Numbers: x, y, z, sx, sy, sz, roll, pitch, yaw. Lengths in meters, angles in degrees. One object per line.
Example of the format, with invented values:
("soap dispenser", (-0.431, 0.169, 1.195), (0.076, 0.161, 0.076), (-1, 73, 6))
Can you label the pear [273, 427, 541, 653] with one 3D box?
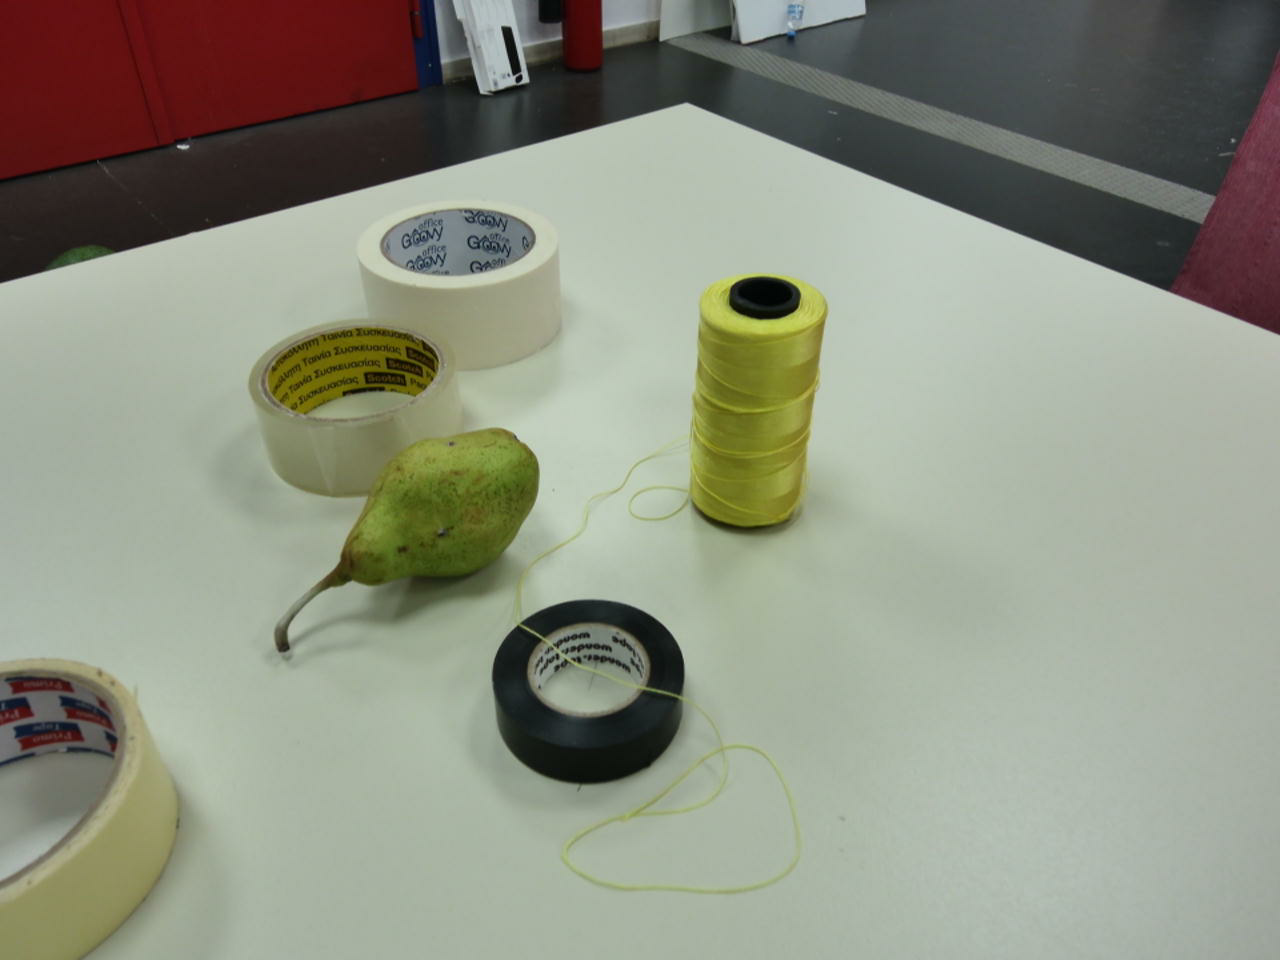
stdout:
("pear", (-0.092, 0.015, 0.384), (0.111, 0.056, 0.056), (-15, 40, -20))
